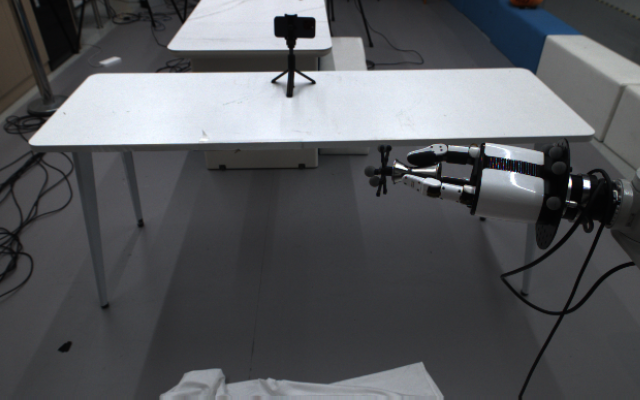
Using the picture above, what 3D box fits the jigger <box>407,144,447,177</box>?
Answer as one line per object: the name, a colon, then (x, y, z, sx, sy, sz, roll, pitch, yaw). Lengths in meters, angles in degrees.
jigger: (0.154, -0.047, 0.736, 0.071, 0.043, 0.043, 5, 34, 21)
